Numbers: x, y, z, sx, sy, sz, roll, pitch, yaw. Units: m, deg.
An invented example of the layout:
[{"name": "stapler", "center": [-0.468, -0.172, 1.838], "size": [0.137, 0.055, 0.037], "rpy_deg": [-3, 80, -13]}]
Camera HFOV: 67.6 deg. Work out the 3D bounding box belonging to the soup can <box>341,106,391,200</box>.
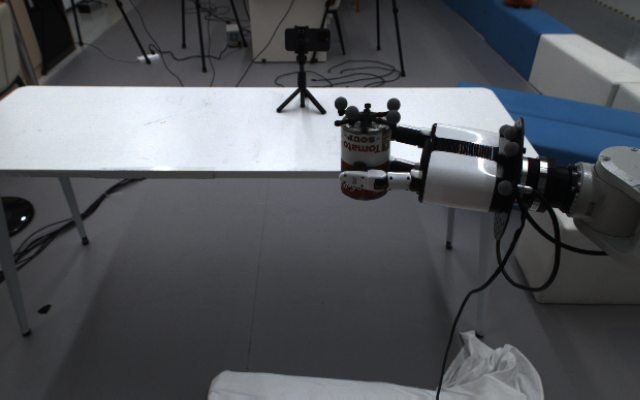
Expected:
[{"name": "soup can", "center": [0.063, -0.061, 0.656], "size": [0.067, 0.101, 0.067], "rpy_deg": [-2, 34, 1]}]
